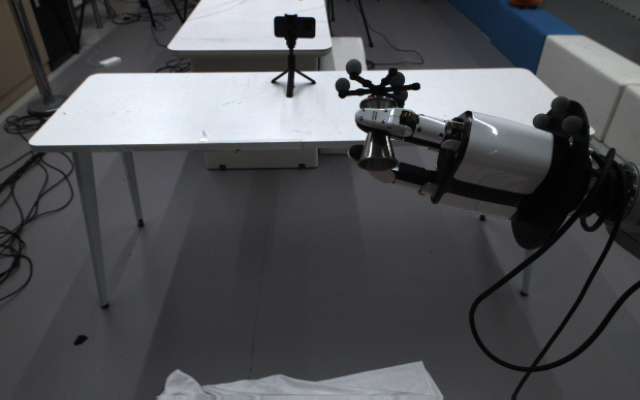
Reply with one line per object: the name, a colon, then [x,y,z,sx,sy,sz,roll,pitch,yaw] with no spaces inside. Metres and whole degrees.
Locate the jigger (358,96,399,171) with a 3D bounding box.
jigger: [0.061,-0.070,0.511,0.043,0.043,0.071,3,76,1]
